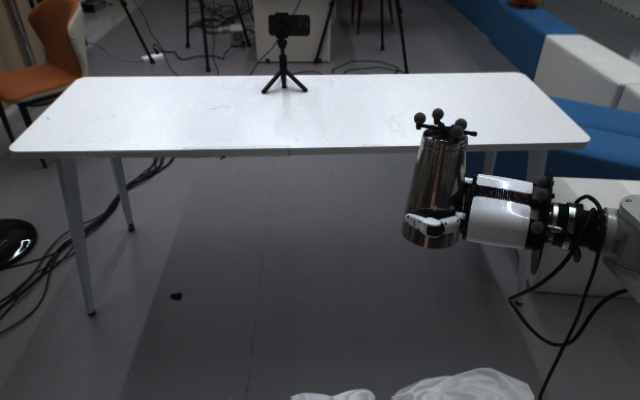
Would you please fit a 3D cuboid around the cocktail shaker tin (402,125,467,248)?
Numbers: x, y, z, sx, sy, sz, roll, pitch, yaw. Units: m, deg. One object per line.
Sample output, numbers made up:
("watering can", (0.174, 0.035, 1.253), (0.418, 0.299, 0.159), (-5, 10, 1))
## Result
("cocktail shaker tin", (0.182, -0.022, 0.750), (0.093, 0.170, 0.093), (1, 28, -1))
